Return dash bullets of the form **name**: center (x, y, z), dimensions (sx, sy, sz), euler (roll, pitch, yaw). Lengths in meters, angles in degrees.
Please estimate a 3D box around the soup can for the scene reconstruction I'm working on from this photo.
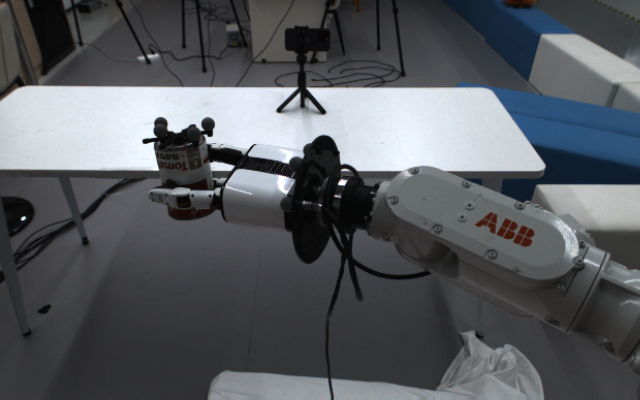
- **soup can**: center (-0.178, -0.031, 0.650), dimensions (0.067, 0.101, 0.067), euler (-3, 26, 2)
